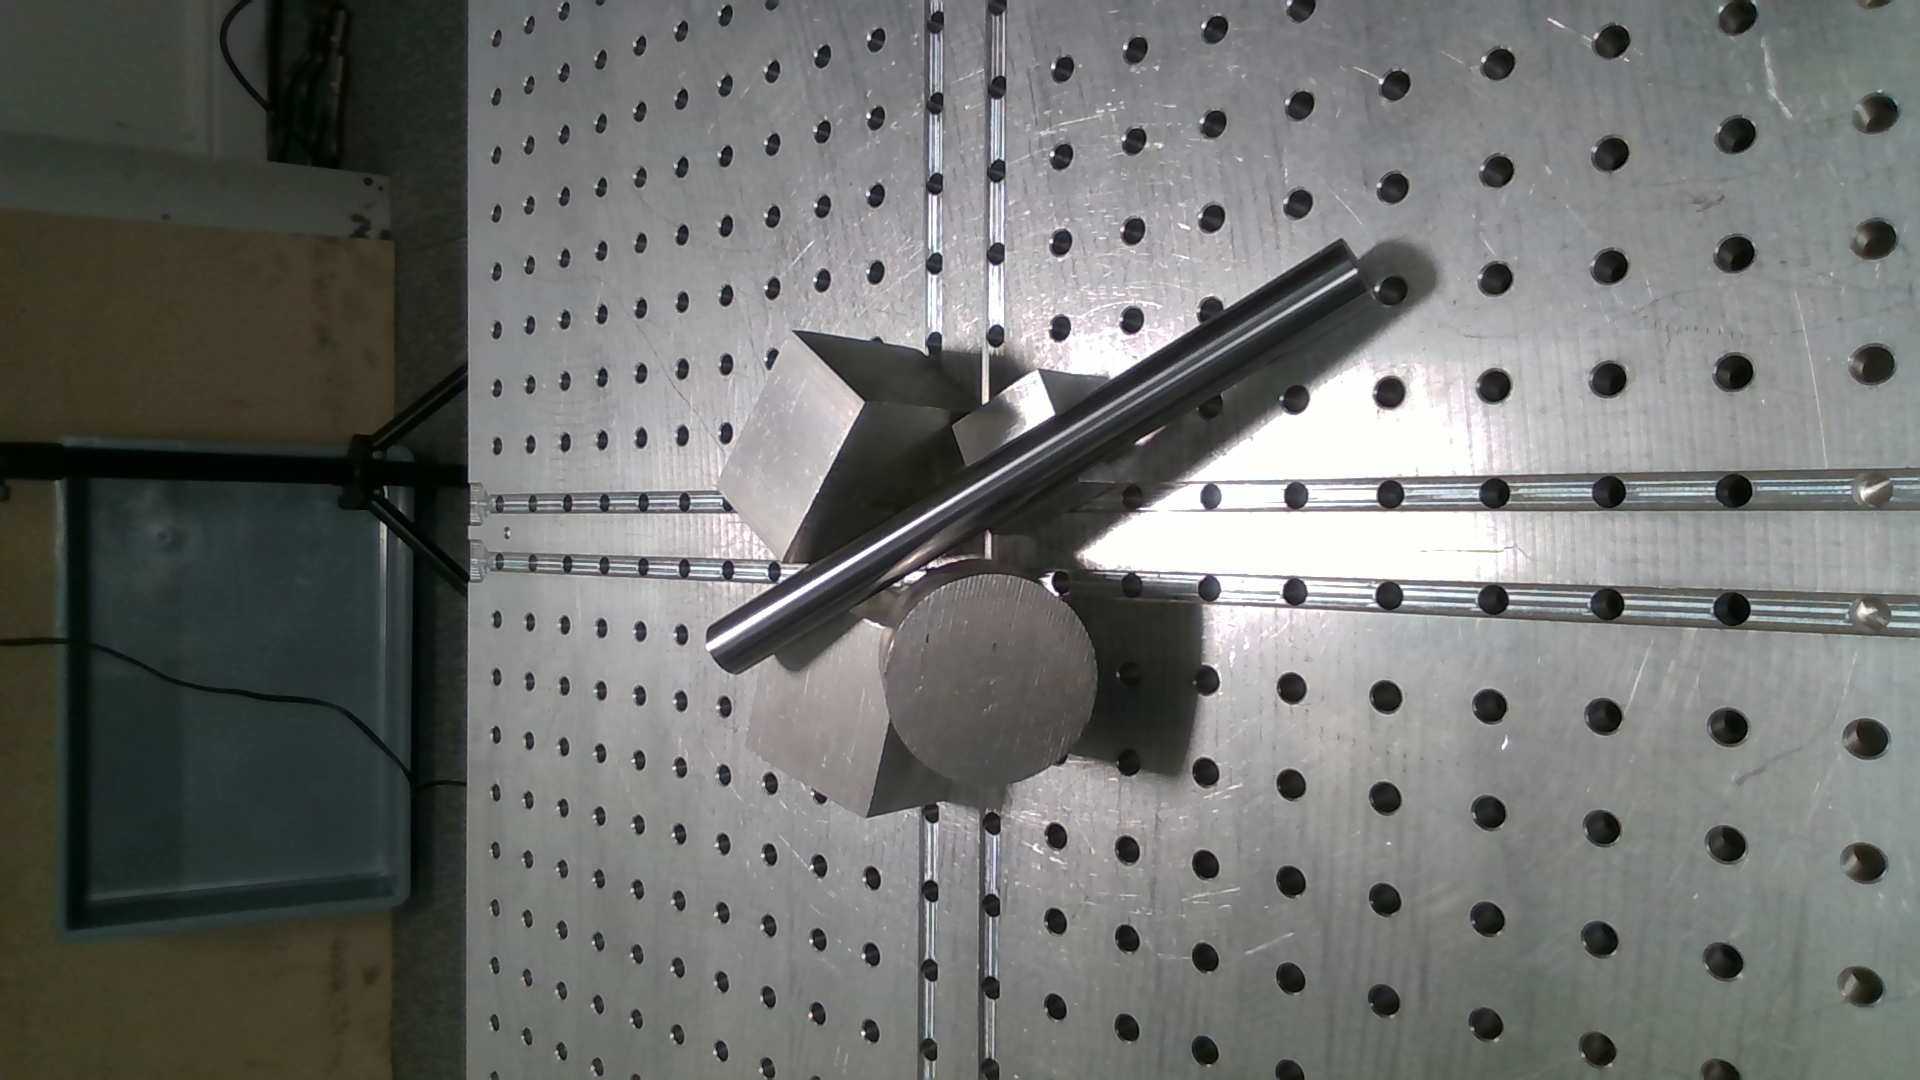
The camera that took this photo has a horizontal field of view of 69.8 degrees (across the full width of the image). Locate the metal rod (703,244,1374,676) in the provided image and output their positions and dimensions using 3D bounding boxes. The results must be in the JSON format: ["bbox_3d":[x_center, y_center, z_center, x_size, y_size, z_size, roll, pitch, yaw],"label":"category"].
[{"bbox_3d":[0.017,-0.022,0.531,0.300,0.025,0.025,-30,71,24],"label":"metal rod"}]

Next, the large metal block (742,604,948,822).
[{"bbox_3d":[-0.044,0.067,0.605,0.080,0.050,0.080,22,105,38],"label":"large metal block"}]

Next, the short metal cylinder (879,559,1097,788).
[{"bbox_3d":[0.009,0.050,0.533,0.050,0.080,0.080,-132,48,-81],"label":"short metal cylinder"}]

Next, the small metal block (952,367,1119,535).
[{"bbox_3d":[0.030,-0.035,0.560,0.050,0.025,0.050,-31,71,36],"label":"small metal block"}]

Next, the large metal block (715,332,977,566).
[{"bbox_3d":[-0.045,-0.037,0.586,0.050,0.080,0.080,45,117,31],"label":"large metal block"}]
